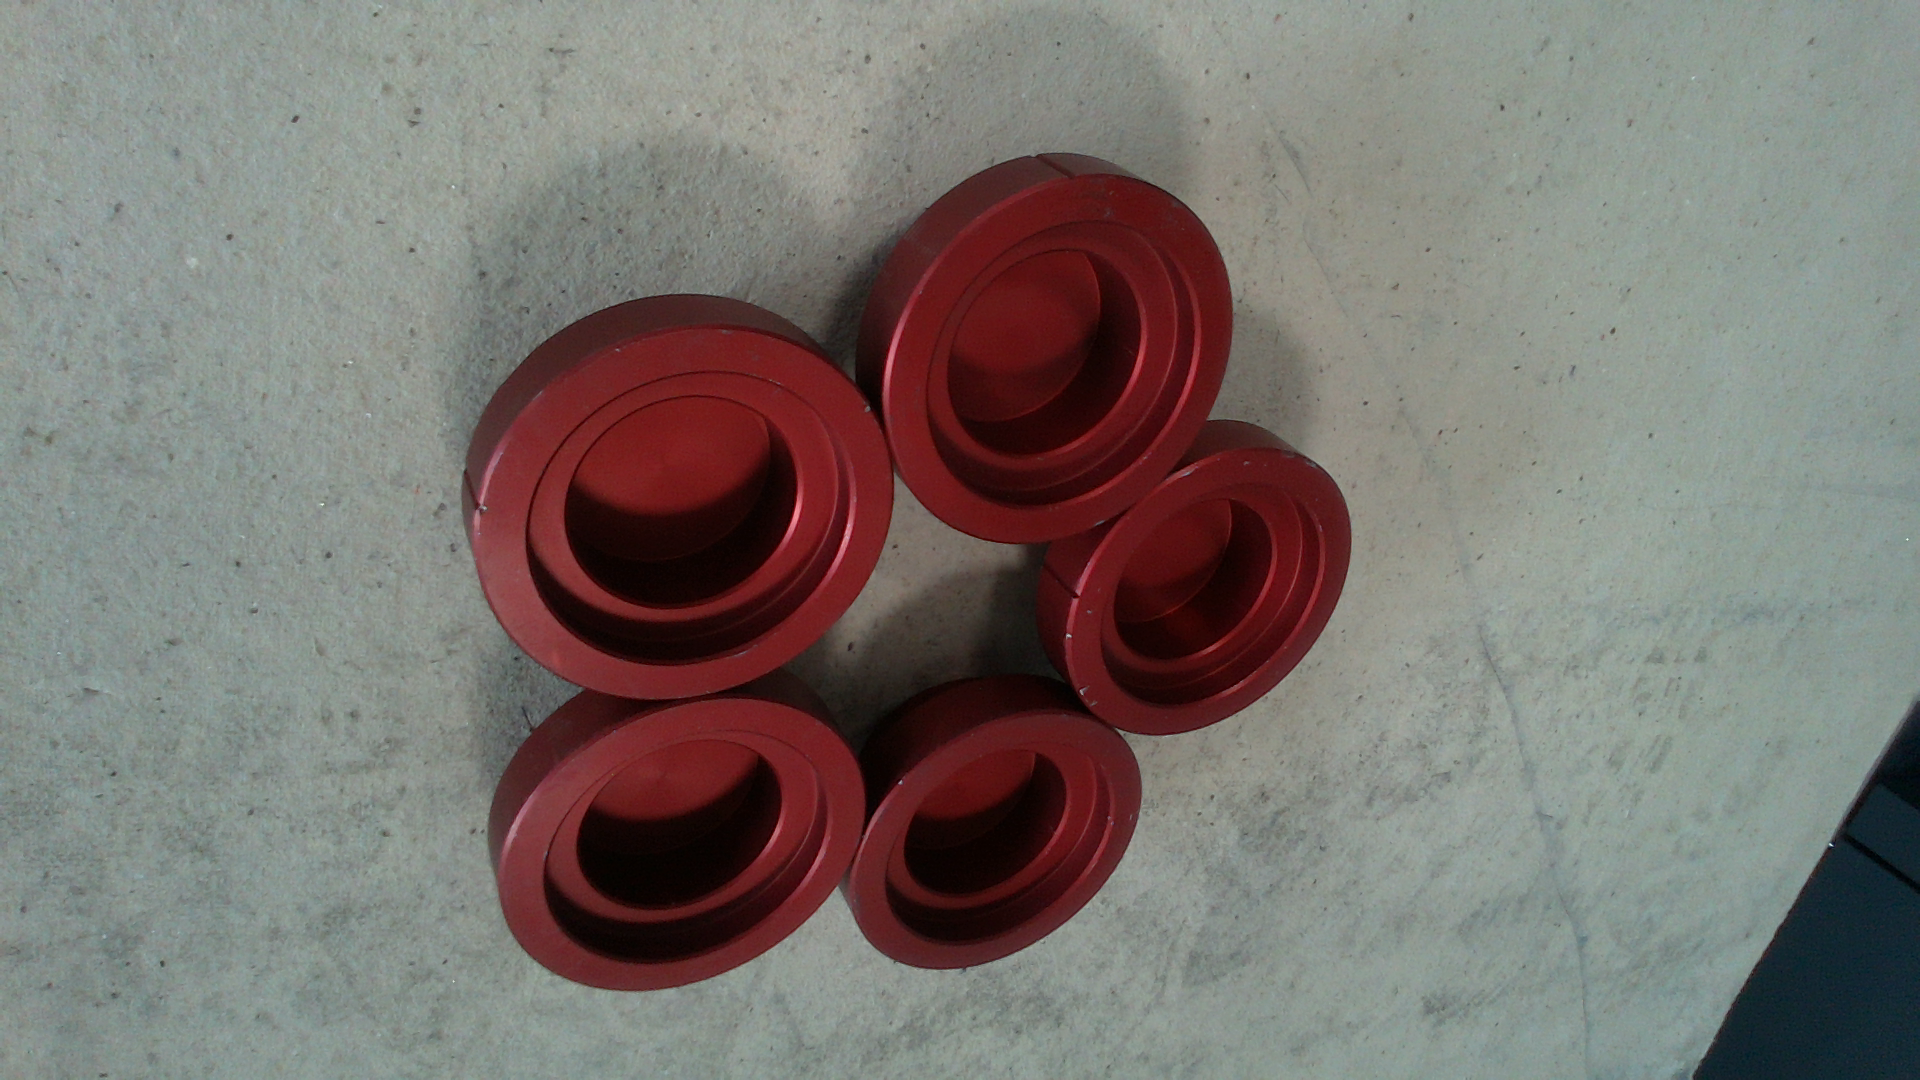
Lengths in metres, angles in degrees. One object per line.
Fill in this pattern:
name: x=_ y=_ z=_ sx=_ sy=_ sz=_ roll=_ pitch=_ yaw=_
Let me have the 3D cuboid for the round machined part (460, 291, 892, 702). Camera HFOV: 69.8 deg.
round machined part: x=-0.069 y=-0.013 z=0.333 sx=0.098 sy=0.042 sz=0.098 roll=-14 pitch=123 yaw=-22

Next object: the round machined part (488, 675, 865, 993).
round machined part: x=-0.079 y=0.073 z=0.379 sx=0.098 sy=0.042 sz=0.098 roll=-14 pitch=123 yaw=-22

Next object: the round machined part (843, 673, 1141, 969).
round machined part: x=0.004 y=0.083 z=0.431 sx=0.098 sy=0.042 sz=0.098 roll=-14 pitch=124 yaw=-22

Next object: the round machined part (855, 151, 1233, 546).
round machined part: x=0.018 y=-0.051 z=0.356 sx=0.098 sy=0.042 sz=0.098 roll=-14 pitch=123 yaw=-22

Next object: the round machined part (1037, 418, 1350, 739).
round machined part: x=0.066 y=0.008 z=0.418 sx=0.098 sy=0.042 sz=0.098 roll=-14 pitch=123 yaw=-22
